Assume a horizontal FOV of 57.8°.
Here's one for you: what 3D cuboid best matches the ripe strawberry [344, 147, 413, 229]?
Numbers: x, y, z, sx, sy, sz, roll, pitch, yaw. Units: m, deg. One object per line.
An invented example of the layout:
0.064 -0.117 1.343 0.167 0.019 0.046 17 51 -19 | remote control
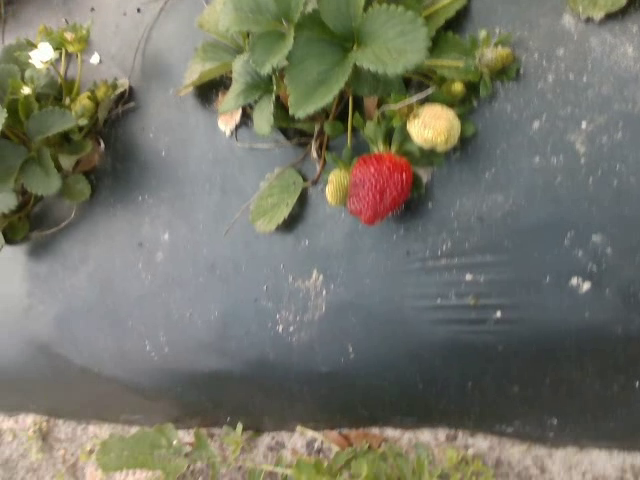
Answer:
0.039 -0.029 0.369 0.046 0.059 0.046 -7 -40 37 | ripe strawberry
